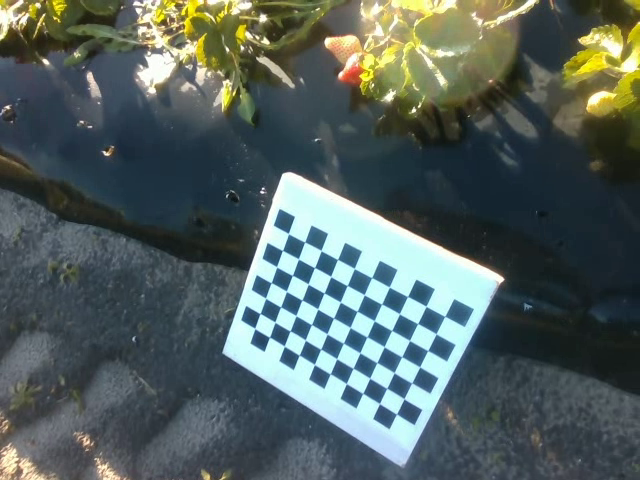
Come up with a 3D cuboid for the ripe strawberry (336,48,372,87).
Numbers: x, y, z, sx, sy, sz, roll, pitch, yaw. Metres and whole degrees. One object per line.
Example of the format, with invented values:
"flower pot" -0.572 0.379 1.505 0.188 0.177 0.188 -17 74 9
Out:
"ripe strawberry" 0.036 -0.180 0.727 0.055 0.038 0.040 -10 19 -35
